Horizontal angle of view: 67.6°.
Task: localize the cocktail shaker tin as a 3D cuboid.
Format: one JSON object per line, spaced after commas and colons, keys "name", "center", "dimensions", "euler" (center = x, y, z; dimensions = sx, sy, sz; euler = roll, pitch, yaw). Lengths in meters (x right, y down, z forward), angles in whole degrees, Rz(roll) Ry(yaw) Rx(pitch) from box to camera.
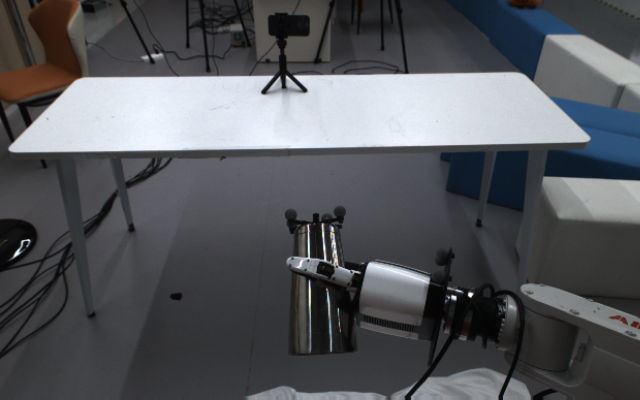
{"name": "cocktail shaker tin", "center": [-0.001, 0.123, 0.663], "dimensions": [0.093, 0.093, 0.170], "euler": [-2, 70, -5]}
